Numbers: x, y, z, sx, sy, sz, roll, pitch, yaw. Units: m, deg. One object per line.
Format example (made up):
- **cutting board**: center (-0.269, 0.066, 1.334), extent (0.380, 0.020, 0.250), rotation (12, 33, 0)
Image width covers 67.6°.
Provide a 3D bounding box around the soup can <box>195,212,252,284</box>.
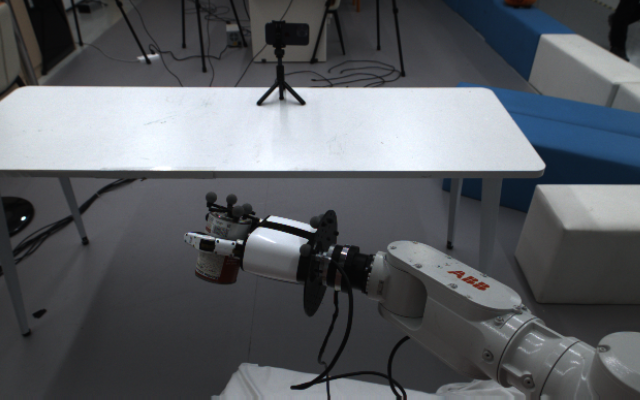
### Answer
- **soup can**: center (-0.148, 0.072, 0.745), extent (0.067, 0.101, 0.067), rotation (16, 7, -2)
